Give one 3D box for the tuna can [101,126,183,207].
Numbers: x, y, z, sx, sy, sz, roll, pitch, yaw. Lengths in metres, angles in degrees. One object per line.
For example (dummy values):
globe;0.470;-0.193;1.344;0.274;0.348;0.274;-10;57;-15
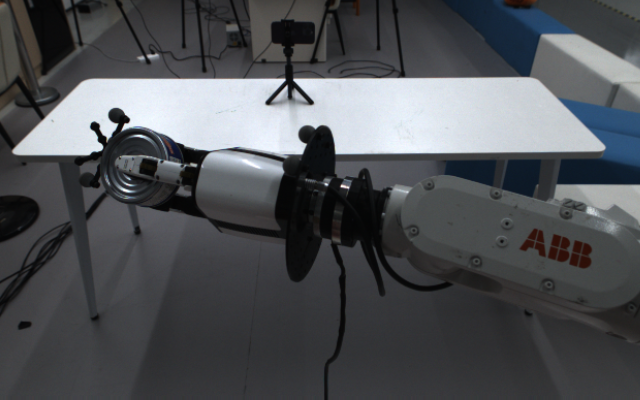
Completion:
tuna can;-0.194;-0.037;0.531;0.085;0.085;0.034;12;-3;14
